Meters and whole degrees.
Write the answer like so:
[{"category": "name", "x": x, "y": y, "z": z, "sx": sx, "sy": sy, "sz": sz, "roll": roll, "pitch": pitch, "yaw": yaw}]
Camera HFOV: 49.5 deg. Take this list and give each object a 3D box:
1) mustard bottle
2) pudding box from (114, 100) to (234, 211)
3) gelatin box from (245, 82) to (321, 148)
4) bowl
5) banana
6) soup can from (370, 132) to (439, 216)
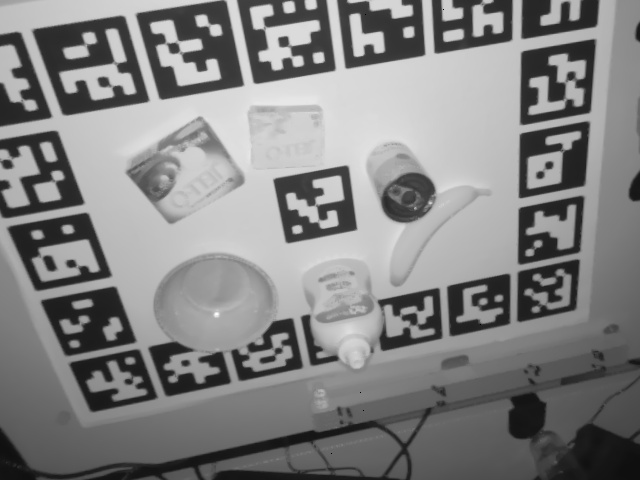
[{"category": "mustard bottle", "x": 0.023, "y": 0.088, "z": 0.882, "sx": 0.096, "sy": 0.192, "sz": 0.058, "roll": -9, "pitch": 123, "yaw": -3}, {"category": "pudding box", "x": -0.175, "y": -0.102, "z": 0.843, "sx": 0.113, "sy": 0.039, "sz": 0.090, "roll": -31, "pitch": 114, "yaw": 8}, {"category": "gelatin box", "x": -0.044, "y": -0.152, "z": 0.842, "sx": 0.090, "sy": 0.030, "sz": 0.073, "roll": -4, "pitch": 116, "yaw": -8}, {"category": "bowl", "x": -0.157, "y": 0.062, "z": 0.932, "sx": 0.162, "sy": 0.055, "sz": 0.160, "roll": -5, "pitch": 120, "yaw": -8}, {"category": "banana", "x": 0.152, "y": -0.015, "z": 0.947, "sx": 0.075, "sy": 0.039, "sz": 0.195, "roll": 25, "pitch": 113, "yaw": -32}, {"category": "soup can", "x": 0.102, "y": -0.083, "z": 0.853, "sx": 0.068, "sy": 0.102, "sz": 0.067, "roll": -3, "pitch": 122, "yaw": -5}]
